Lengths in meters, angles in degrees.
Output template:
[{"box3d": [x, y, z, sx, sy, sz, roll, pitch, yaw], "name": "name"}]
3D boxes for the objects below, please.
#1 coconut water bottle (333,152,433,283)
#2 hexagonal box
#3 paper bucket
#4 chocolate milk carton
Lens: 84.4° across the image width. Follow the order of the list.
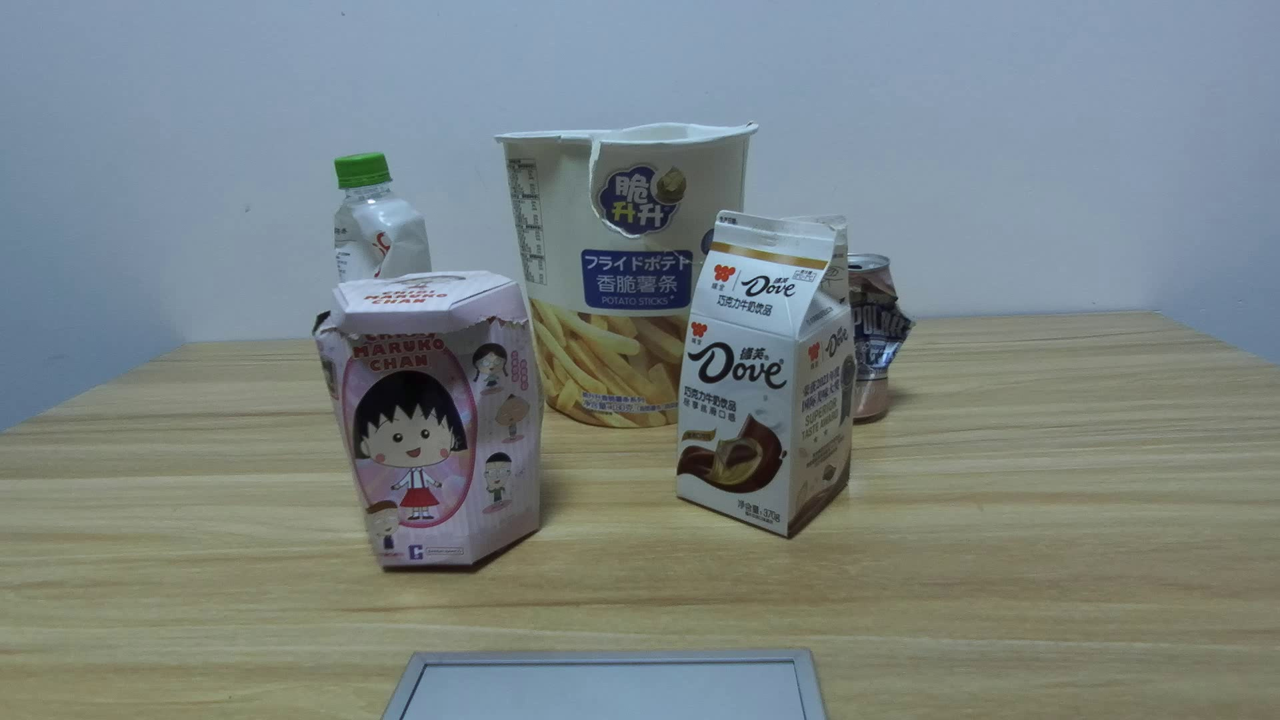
[{"box3d": [-0.166, -0.039, 0.469, 0.069, 0.187, 0.069, -2, 17, 1], "name": "coconut water bottle"}, {"box3d": [-0.103, 0.027, 0.359, 0.090, 0.134, 0.090, 15, 23, 41], "name": "hexagonal box"}, {"box3d": [-0.005, -0.068, 0.511, 0.146, 0.197, 0.201, -18, 25, -33], "name": "paper bucket"}, {"box3d": [0.065, 0.001, 0.371, 0.084, 0.155, 0.073, 14, 26, 39], "name": "chocolate milk carton"}]
